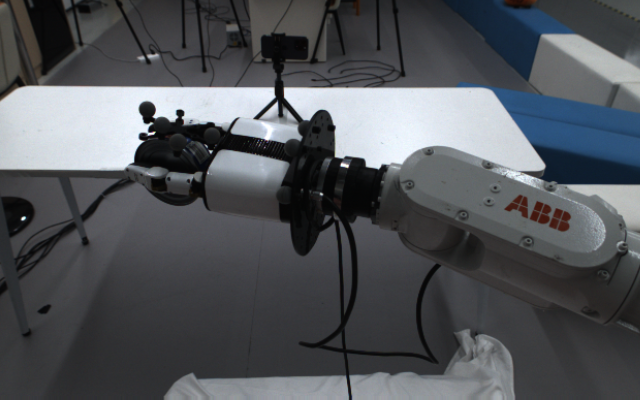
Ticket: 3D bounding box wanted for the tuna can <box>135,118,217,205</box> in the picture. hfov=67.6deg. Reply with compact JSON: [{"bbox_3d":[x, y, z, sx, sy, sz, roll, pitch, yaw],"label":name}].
[{"bbox_3d":[-0.165,-0.038,0.555,0.085,0.085,0.034,12,33,14],"label":"tuna can"}]
